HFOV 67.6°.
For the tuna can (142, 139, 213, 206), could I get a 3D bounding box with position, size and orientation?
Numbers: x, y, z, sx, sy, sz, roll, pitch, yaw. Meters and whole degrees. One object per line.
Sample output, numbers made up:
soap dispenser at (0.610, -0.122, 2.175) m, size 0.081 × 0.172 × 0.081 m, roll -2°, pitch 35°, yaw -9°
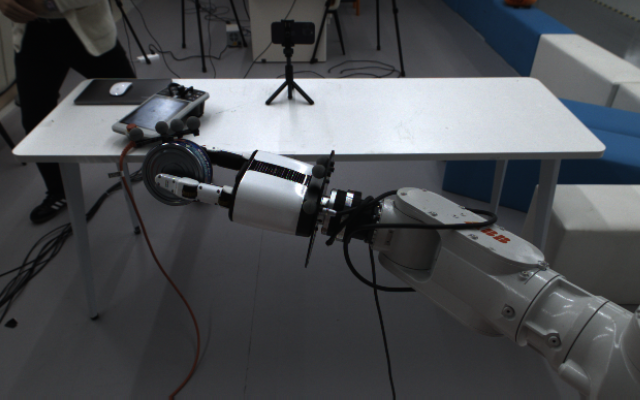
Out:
tuna can at (-0.186, -0.036, 0.634) m, size 0.085 × 0.085 × 0.034 m, roll 6°, pitch 18°, yaw 5°
